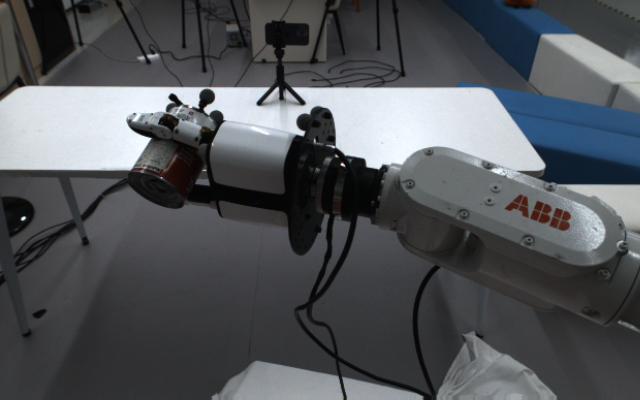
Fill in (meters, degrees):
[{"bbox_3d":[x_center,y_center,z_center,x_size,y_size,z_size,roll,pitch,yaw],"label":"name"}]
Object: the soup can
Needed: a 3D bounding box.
[{"bbox_3d":[-0.164,-0.050,0.554,0.067,0.067,0.101,12,59,14],"label":"soup can"}]
